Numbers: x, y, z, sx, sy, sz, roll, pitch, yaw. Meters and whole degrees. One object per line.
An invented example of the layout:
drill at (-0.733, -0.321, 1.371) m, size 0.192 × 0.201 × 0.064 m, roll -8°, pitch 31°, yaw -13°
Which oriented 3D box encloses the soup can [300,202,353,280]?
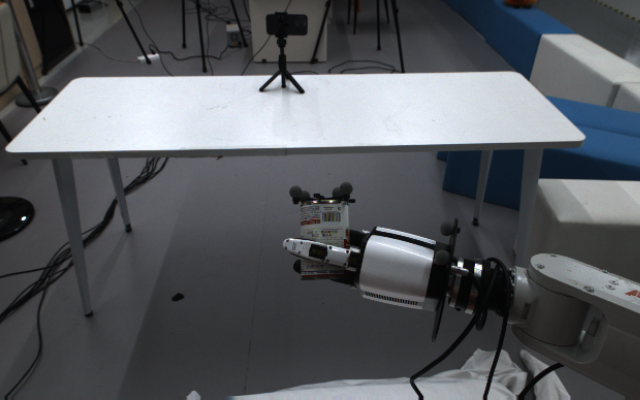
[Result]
soup can at (0.008, 0.056, 0.645) m, size 0.067 × 0.101 × 0.067 m, roll -1°, pitch -9°, yaw 0°
